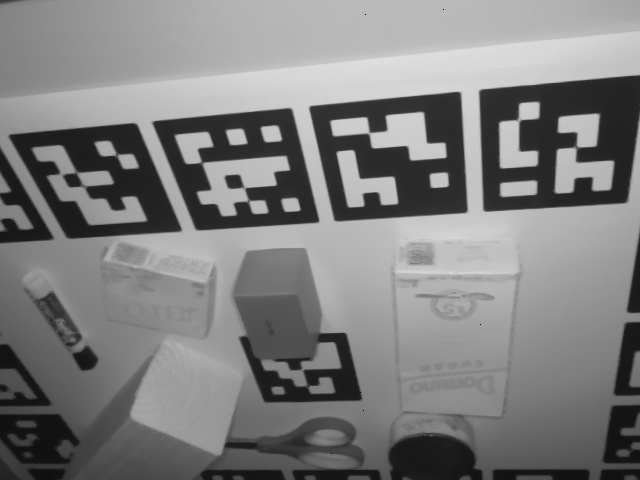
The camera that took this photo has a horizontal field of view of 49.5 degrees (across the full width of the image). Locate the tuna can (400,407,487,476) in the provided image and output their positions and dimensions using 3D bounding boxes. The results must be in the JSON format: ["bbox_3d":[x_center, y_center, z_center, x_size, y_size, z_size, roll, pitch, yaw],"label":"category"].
[{"bbox_3d":[0.123,0.195,0.691,0.085,0.034,0.085,3,125,5],"label":"tuna can"}]

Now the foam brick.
[{"bbox_3d":[-0.025,0.030,0.576,0.052,0.052,0.077,-2,125,8],"label":"foam brick"}]

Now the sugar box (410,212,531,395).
[{"bbox_3d":[0.123,0.058,0.590,0.092,0.046,0.175,0,126,8],"label":"sugar box"}]

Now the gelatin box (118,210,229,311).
[{"bbox_3d":[-0.127,0.019,0.598,0.089,0.030,0.072,12,126,-2],"label":"gelatin box"}]

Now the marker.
[{"bbox_3d":[-0.228,0.055,0.640,0.019,0.020,0.120,-2,123,9],"label":"marker"}]

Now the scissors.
[{"bbox_3d":[-0.045,0.204,0.732,0.203,0.016,0.087,2,126,3],"label":"scissors"}]

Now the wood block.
[{"bbox_3d":[-0.174,0.180,0.686,0.090,0.092,0.203,32,124,-17],"label":"wood block"}]
